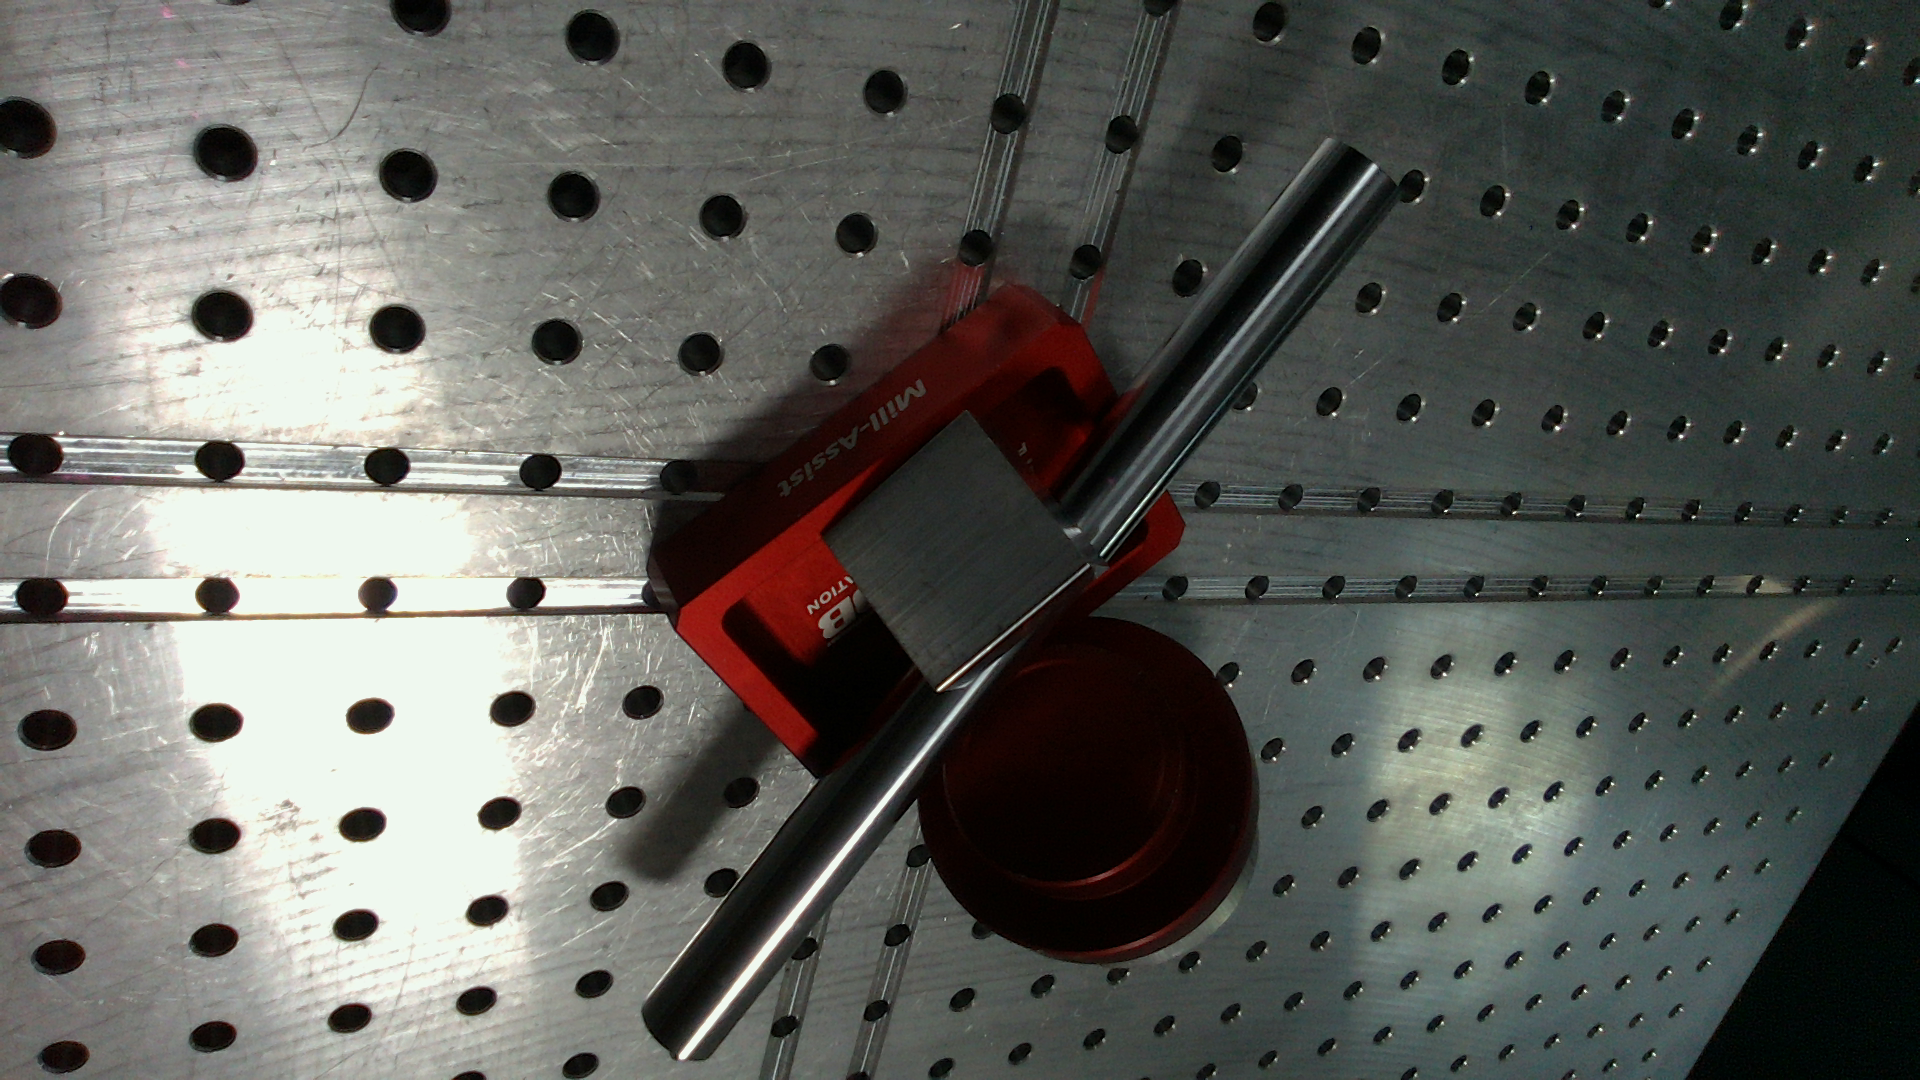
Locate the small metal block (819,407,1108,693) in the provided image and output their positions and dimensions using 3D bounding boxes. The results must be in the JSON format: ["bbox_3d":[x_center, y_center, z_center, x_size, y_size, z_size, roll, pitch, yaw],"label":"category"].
[{"bbox_3d":[0.001,0.003,0.350,0.050,0.050,0.025,-40,168,11],"label":"small metal block"}]

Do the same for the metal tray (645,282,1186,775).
[{"bbox_3d":[-0.009,0.002,0.385,0.130,0.030,0.090,-37,129,-3],"label":"metal tray"}]

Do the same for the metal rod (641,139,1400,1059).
[{"bbox_3d":[0.011,0.022,0.373,0.025,0.025,0.300,31,101,-38],"label":"metal rod"}]

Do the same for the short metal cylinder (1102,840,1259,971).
[{"bbox_3d":[0.048,0.087,0.435,0.080,0.080,0.050,-37,129,-3],"label":"short metal cylinder"}]

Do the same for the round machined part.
[{"bbox_3d":[0.034,0.068,0.392,0.098,0.098,0.042,-40,151,-1],"label":"round machined part"}]
